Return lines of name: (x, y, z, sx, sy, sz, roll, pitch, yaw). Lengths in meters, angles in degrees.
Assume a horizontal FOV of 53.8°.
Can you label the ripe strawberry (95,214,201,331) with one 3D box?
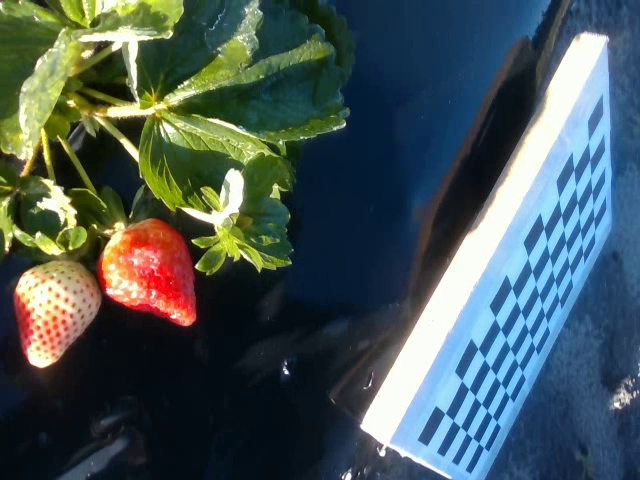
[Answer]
ripe strawberry: (-0.062, 0.017, 0.247, 0.040, 0.056, 0.037, -45, -27, 19)
